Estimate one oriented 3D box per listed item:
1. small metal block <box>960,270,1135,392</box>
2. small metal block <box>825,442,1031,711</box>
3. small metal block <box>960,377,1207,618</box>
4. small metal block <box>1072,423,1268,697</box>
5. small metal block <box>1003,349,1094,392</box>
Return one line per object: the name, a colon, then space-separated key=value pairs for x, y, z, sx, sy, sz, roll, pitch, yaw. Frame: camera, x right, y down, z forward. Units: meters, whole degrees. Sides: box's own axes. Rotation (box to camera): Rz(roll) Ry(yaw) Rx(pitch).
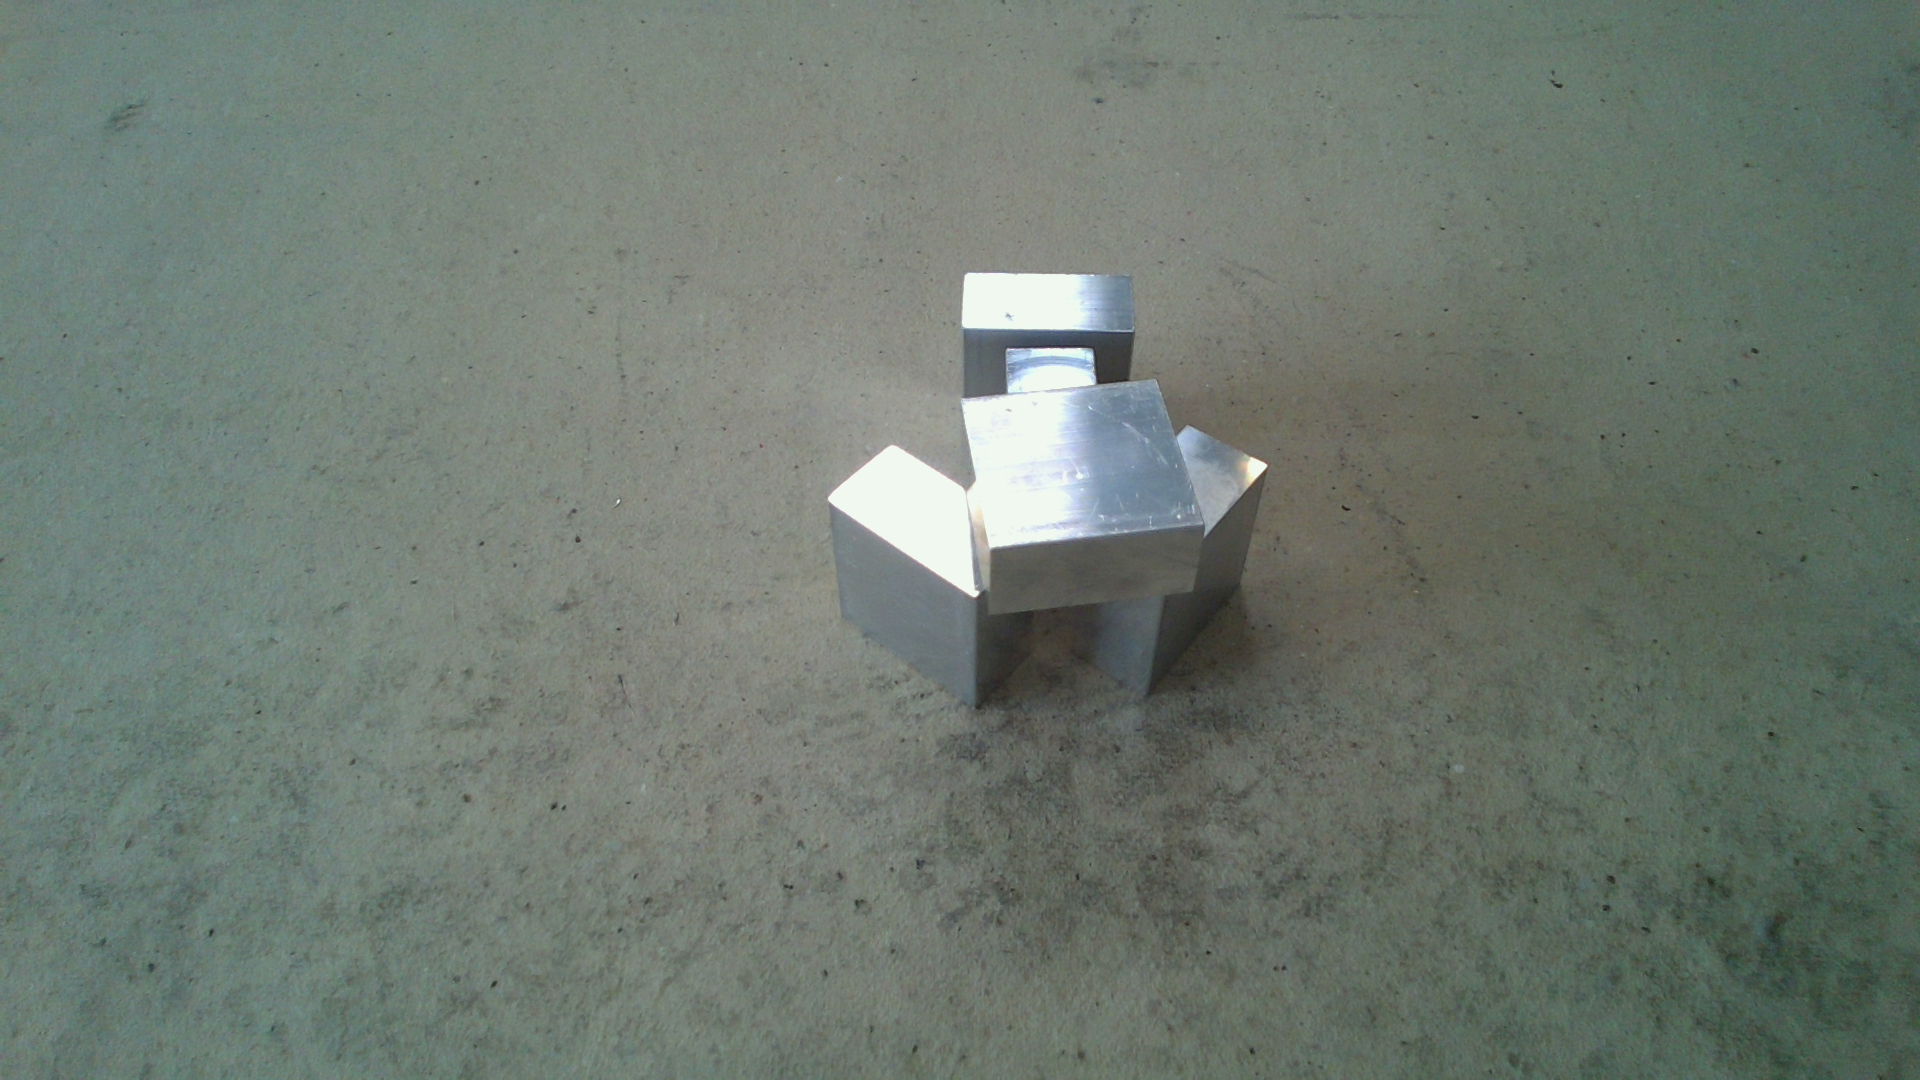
small metal block: x=0.025 y=-0.054 z=0.421 sx=0.050 sy=0.050 sz=0.025 roll=1 pitch=50 yaw=1
small metal block: x=-0.008 y=0.010 z=0.366 sx=0.050 sy=0.050 sz=0.025 roll=33 pitch=57 yaw=24
small metal block: x=0.028 y=-0.011 z=0.337 sx=0.050 sy=0.025 sz=0.050 roll=-6 pitch=50 yaw=-5
small metal block: x=0.056 y=0.006 z=0.372 sx=0.025 sy=0.050 sz=0.050 roll=30 pitch=56 yaw=23
small metal block: x=0.025 y=-0.019 z=0.393 sx=0.025 sy=0.050 sz=0.050 roll=0 pitch=49 yaw=-1
